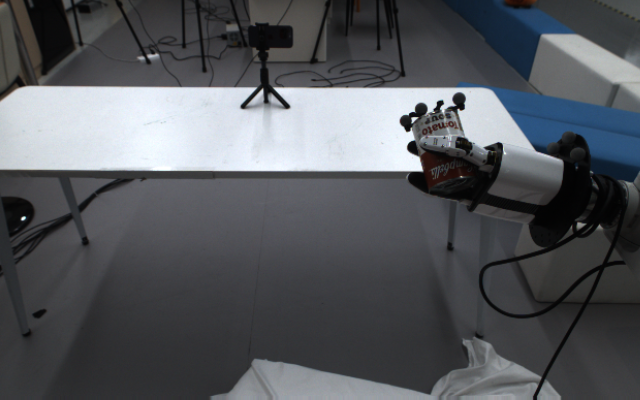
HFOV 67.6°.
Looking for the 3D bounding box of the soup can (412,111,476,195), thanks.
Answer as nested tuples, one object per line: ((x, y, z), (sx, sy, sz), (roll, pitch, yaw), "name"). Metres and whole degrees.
((0.172, -0.066, 0.671), (0.067, 0.067, 0.101), (-8, 74, -14), "soup can")
